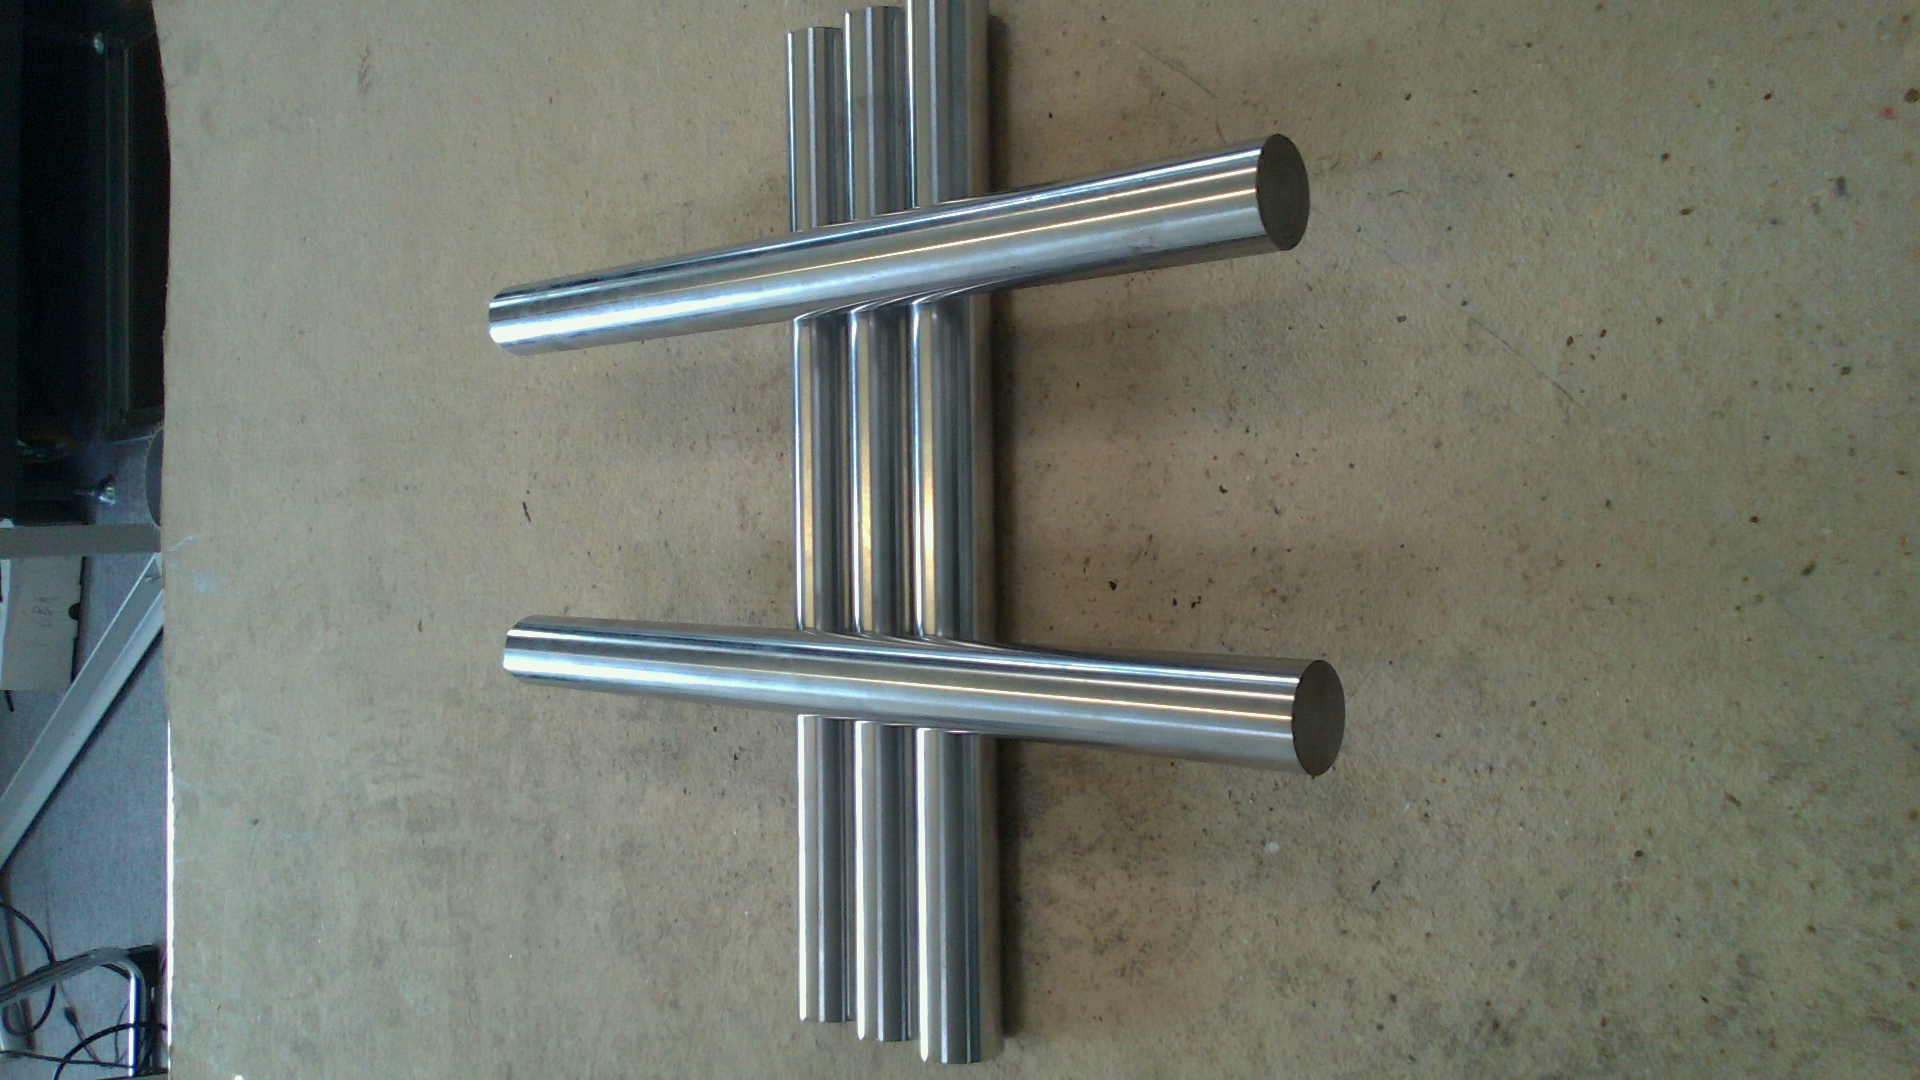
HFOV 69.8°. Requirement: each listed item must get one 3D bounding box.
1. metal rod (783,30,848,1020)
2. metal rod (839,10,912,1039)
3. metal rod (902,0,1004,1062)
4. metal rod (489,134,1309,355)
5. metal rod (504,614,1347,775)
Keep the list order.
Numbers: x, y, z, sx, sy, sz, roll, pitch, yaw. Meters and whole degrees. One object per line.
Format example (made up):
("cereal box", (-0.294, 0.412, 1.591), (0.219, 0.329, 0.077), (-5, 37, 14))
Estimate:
("metal rod", (-0.041, -0.005, 0.429), (0.025, 0.025, 0.300), (-1, 89, 40))
("metal rod", (-0.022, -0.005, 0.413), (0.025, 0.025, 0.300), (-1, 89, 40))
("metal rod", (-0.002, -0.005, 0.397), (0.025, 0.025, 0.300), (-1, 89, 40))
("metal rod", (-0.043, -0.077, 0.398), (0.299, 0.025, 0.025), (0, 90, 40))
("metal rod", (-0.036, 0.038, 0.393), (0.299, 0.025, 0.025), (0, 90, 40))
